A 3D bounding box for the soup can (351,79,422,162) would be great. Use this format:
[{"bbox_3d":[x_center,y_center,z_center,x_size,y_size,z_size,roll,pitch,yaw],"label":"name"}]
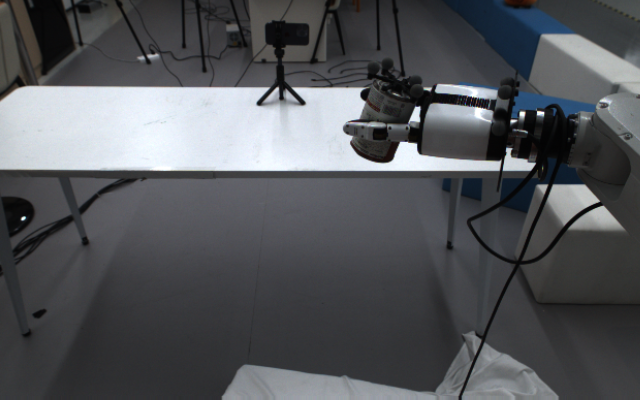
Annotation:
[{"bbox_3d":[0.091,-0.113,0.683,0.067,0.101,0.067,13,35,-9],"label":"soup can"}]
